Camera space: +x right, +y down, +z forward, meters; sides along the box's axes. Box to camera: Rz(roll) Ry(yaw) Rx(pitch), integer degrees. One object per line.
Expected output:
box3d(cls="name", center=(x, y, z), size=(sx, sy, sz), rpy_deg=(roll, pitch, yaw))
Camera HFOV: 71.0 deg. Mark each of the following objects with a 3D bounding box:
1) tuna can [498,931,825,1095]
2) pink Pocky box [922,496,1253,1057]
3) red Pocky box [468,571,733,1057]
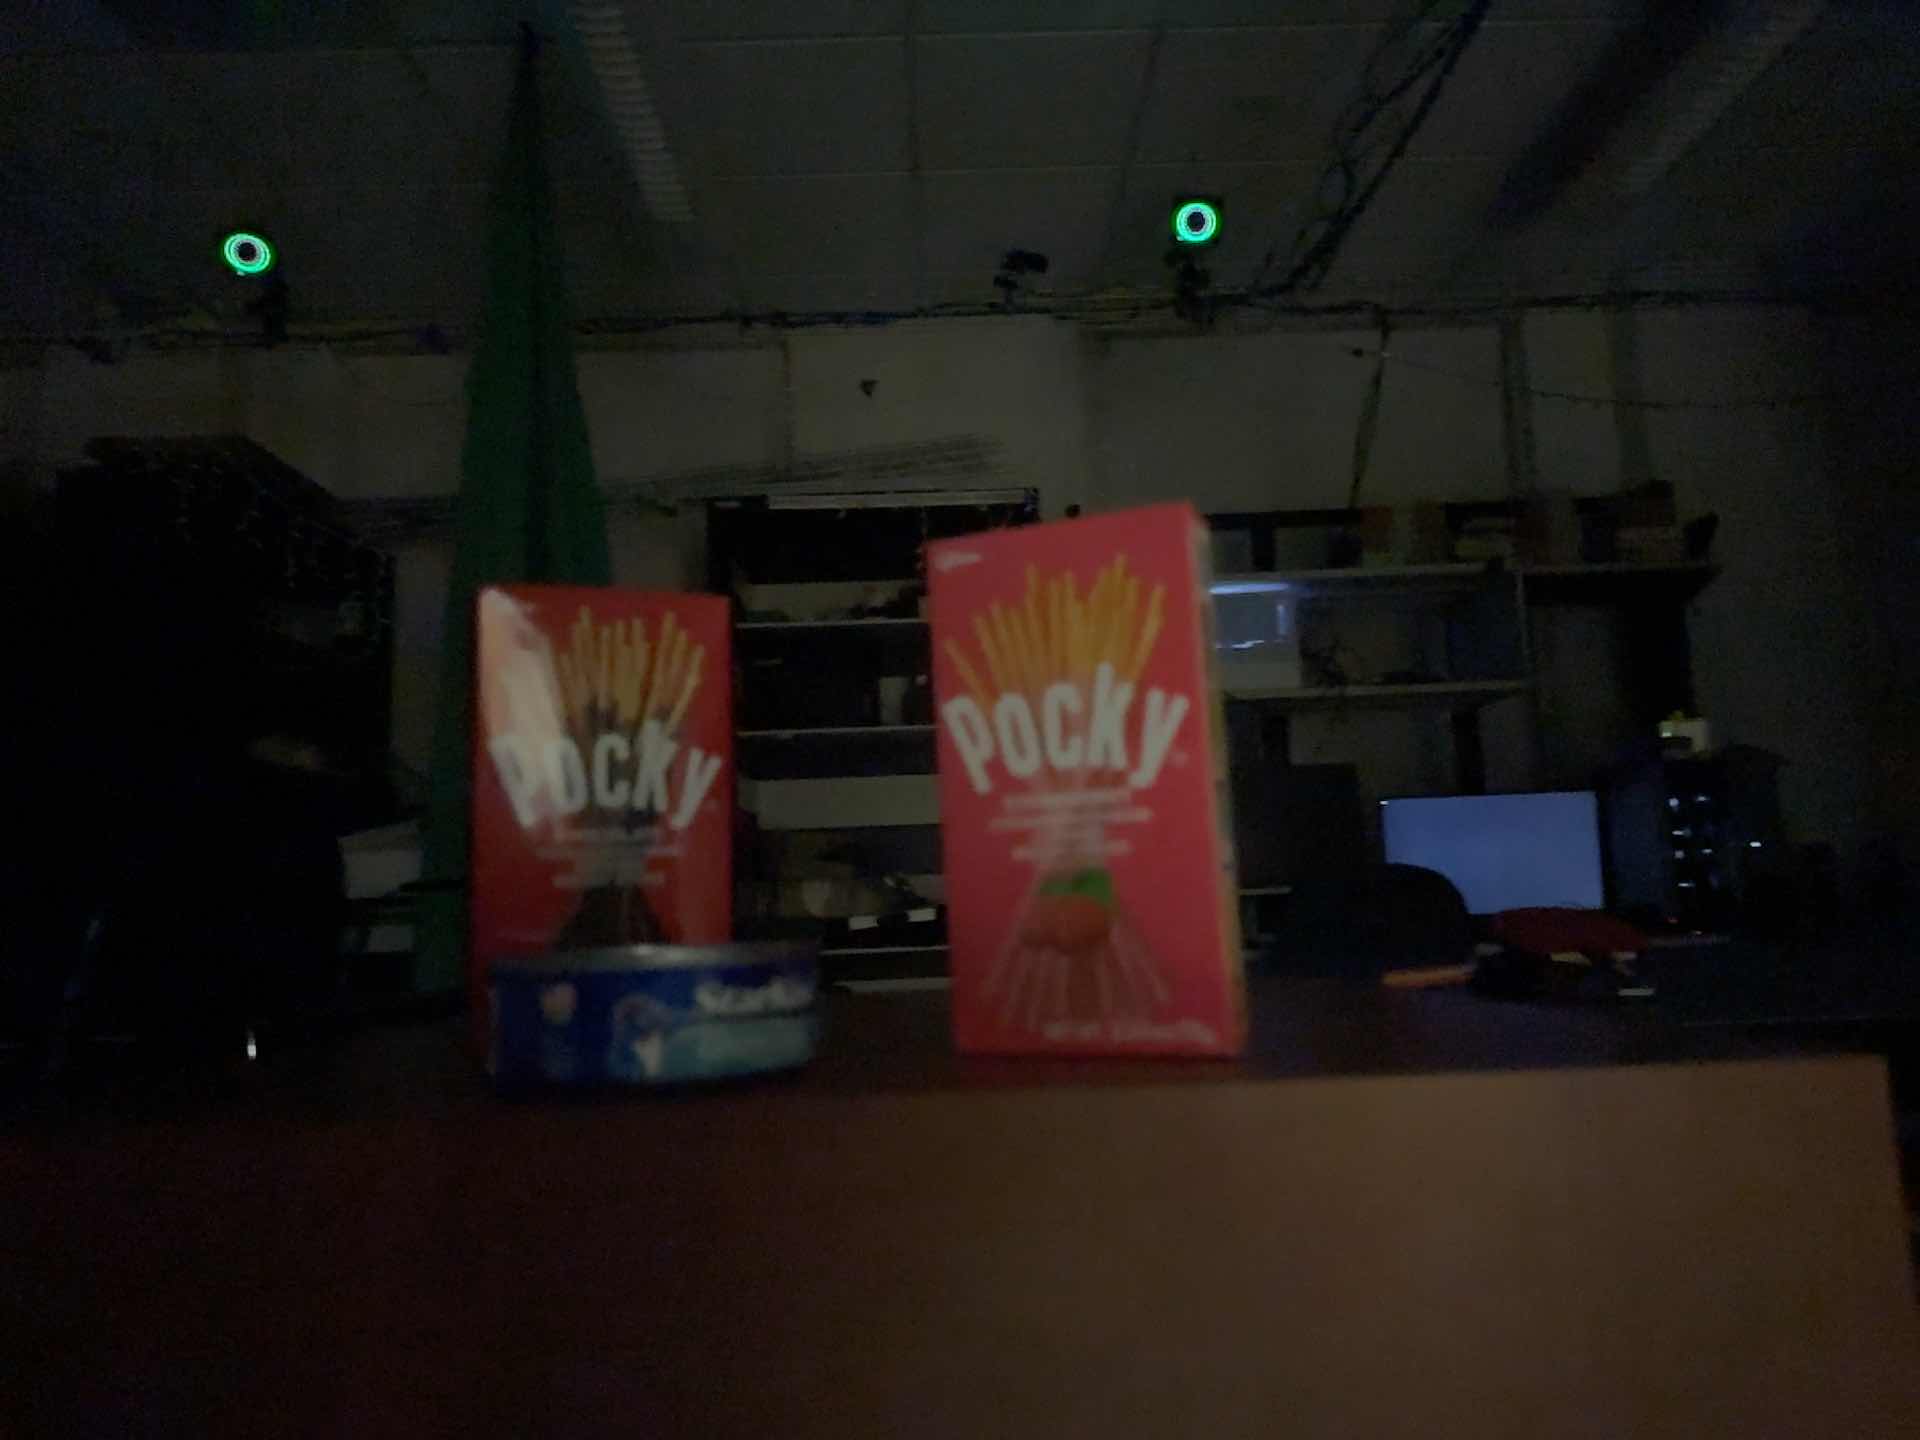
box3d(cls="tuna can", center=(-0.078, 0.076, 0.356), size=(0.083, 0.034, 0.083), rpy_deg=(-2, -6, 0))
box3d(cls="pink Pocky box", center=(0.035, 0.018, 0.389), size=(0.084, 0.155, 0.029), rpy_deg=(-5, -5, 22))
box3d(cls="red Pocky box", center=(-0.117, 0.030, 0.442), size=(0.083, 0.155, 0.028), rpy_deg=(0, -5, -17))
